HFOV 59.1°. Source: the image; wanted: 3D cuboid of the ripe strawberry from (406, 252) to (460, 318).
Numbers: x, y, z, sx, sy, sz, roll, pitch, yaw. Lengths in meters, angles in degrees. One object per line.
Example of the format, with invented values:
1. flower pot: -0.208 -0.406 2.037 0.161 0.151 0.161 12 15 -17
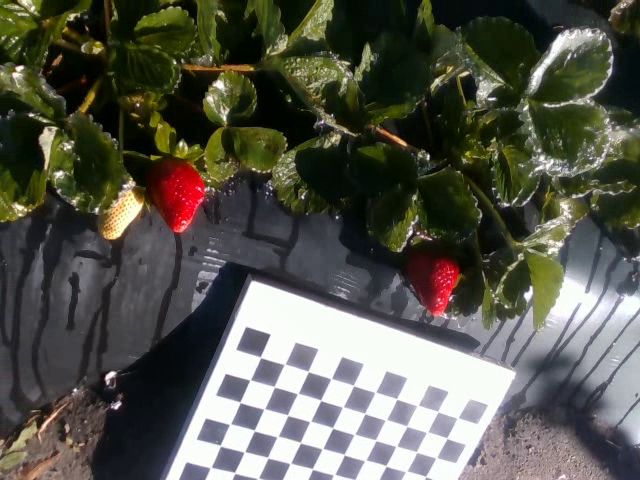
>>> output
1. ripe strawberry: 0.100 0.039 0.490 0.048 0.061 0.044 14 -18 -16

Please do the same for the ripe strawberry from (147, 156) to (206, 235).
1. ripe strawberry: -0.110 -0.028 0.430 0.042 0.061 0.046 7 -26 -14
